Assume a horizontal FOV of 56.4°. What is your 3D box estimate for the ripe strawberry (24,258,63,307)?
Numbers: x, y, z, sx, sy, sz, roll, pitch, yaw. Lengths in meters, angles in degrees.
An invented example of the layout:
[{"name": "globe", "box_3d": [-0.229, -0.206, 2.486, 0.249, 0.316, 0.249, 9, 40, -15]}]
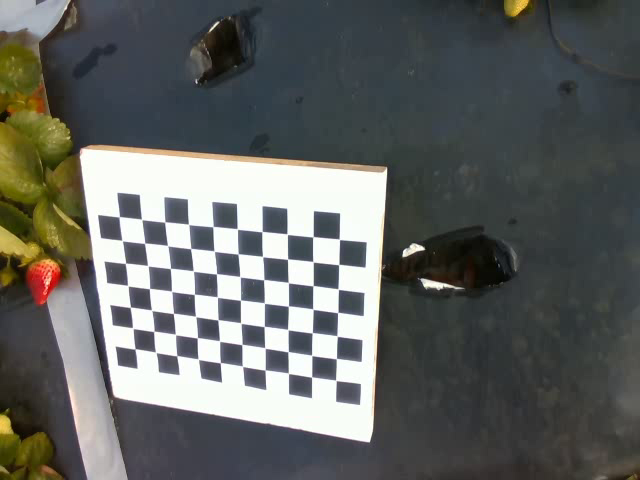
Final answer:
[{"name": "ripe strawberry", "box_3d": [-0.270, 0.043, 0.581, 0.050, 0.055, 0.035, -2, 1, 9]}]
